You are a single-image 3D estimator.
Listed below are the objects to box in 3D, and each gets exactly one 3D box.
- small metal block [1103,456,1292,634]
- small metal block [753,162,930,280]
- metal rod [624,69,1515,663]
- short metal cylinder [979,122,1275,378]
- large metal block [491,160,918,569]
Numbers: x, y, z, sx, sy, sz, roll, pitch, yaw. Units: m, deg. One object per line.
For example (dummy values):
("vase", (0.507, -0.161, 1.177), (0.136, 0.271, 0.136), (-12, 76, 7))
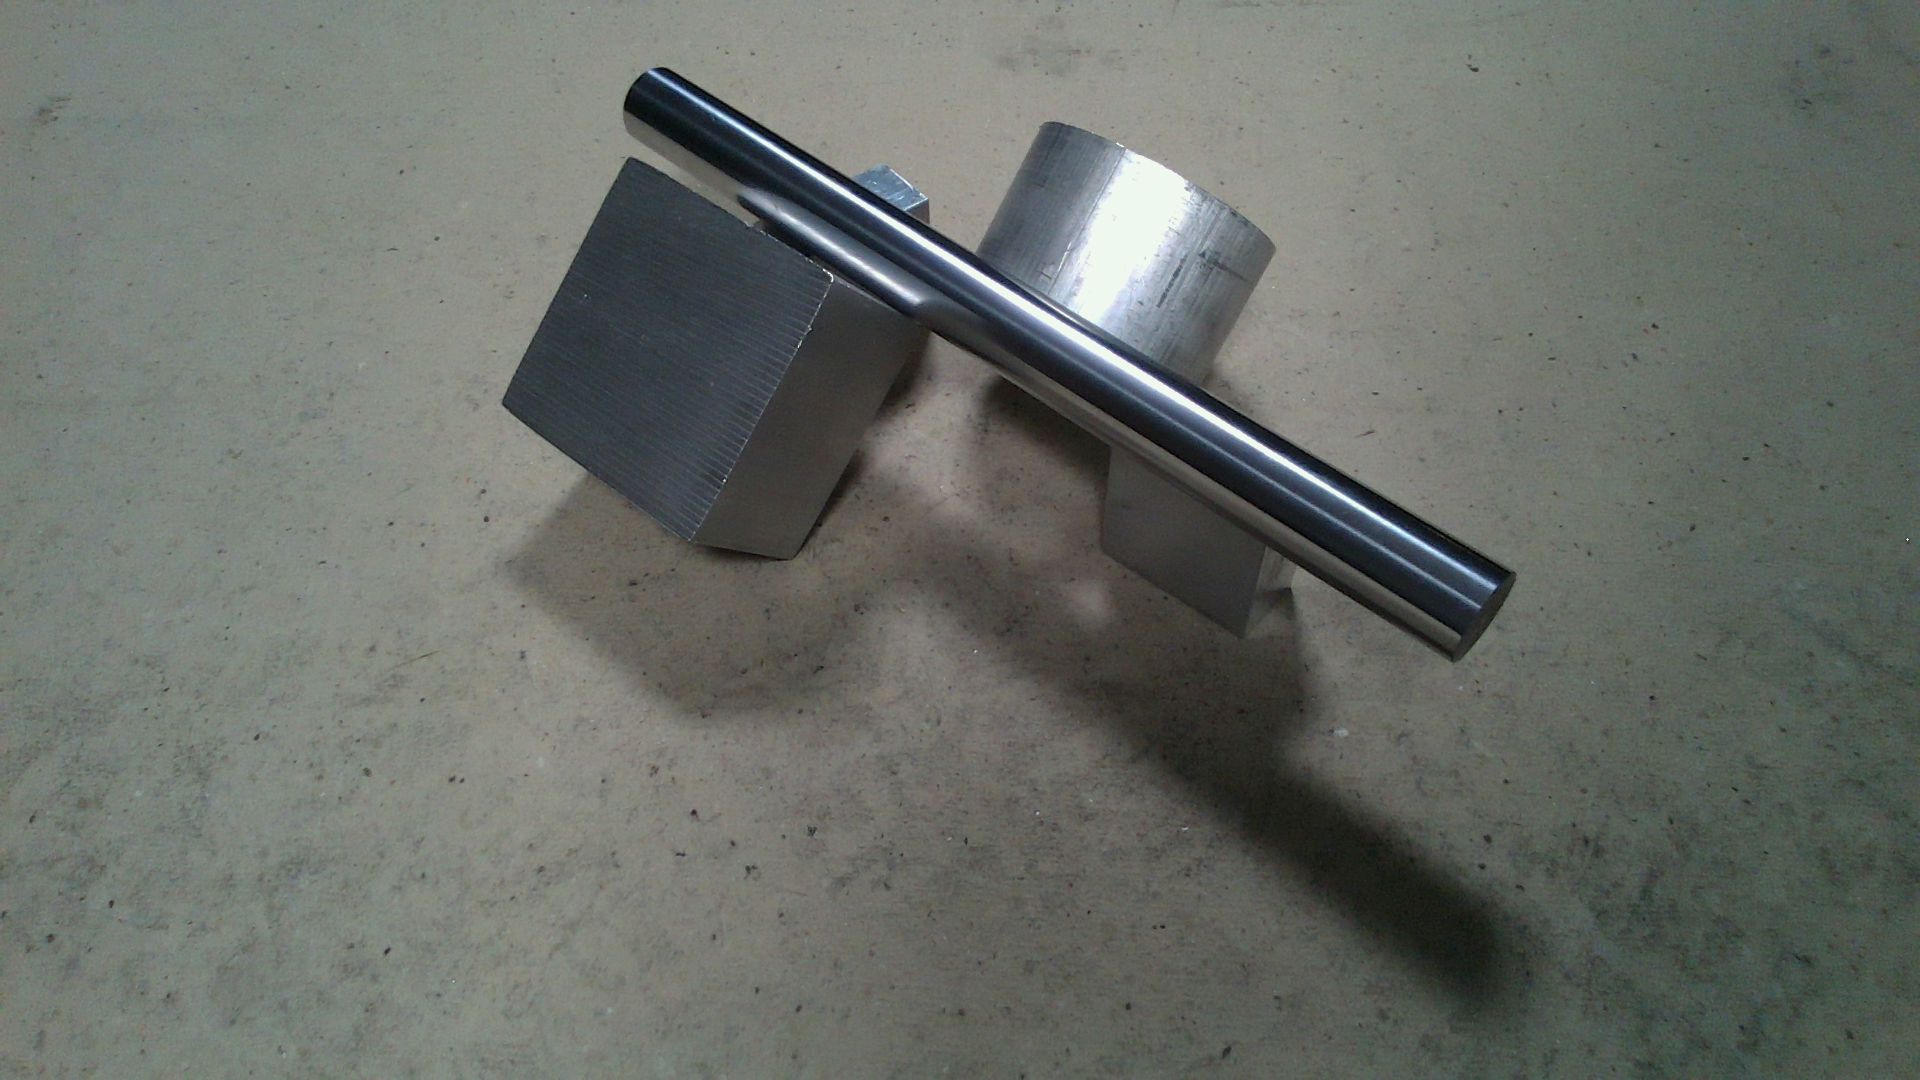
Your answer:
("small metal block", (0.069, -0.010, 0.380), (0.050, 0.050, 0.025), (33, 58, 25))
("small metal block", (-0.037, -0.087, 0.449), (0.050, 0.050, 0.025), (-32, 57, -24))
("metal rod", (0.010, -0.061, 0.378), (0.299, 0.025, 0.025), (36, 59, 26))
("short metal cylinder", (0.048, -0.084, 0.419), (0.080, 0.080, 0.050), (32, 98, 24))
("large metal block", (-0.073, -0.049, 0.393), (0.080, 0.050, 0.080), (33, 98, 25))
